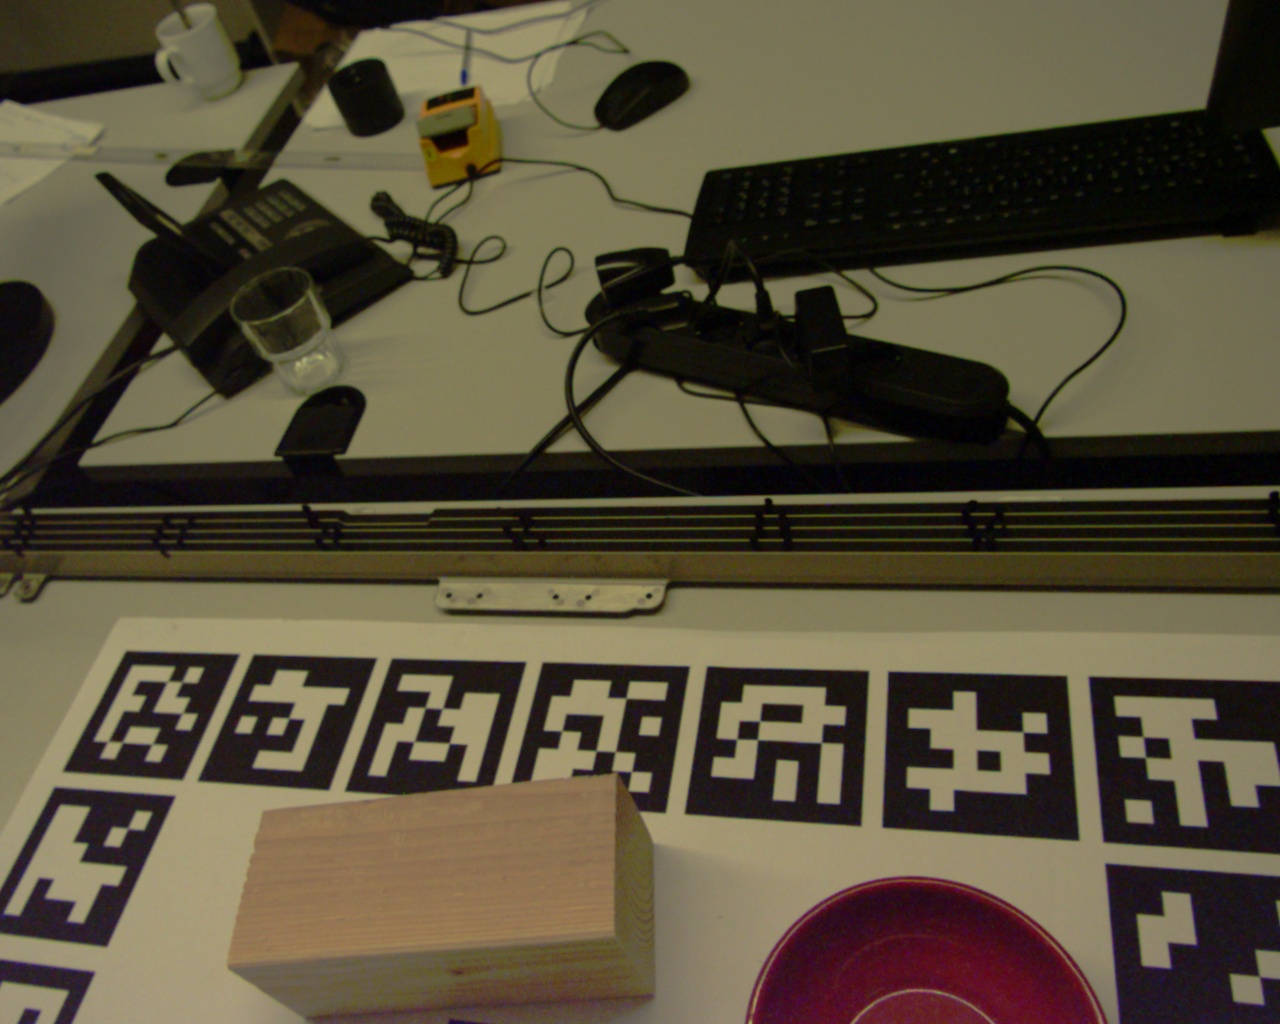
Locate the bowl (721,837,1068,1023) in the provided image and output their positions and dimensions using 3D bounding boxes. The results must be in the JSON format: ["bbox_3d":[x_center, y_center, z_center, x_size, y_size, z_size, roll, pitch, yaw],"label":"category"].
[{"bbox_3d":[0.124,0.246,0.560,0.162,0.054,0.162,-13,46,12],"label":"bowl"}]

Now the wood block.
[{"bbox_3d":[-0.121,0.210,0.655,0.207,0.089,0.091,-8,52,10],"label":"wood block"}]

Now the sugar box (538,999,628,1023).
[{"bbox_3d":[0.020,0.270,0.486,0.094,0.175,0.045,15,57,33],"label":"sugar box"}]
